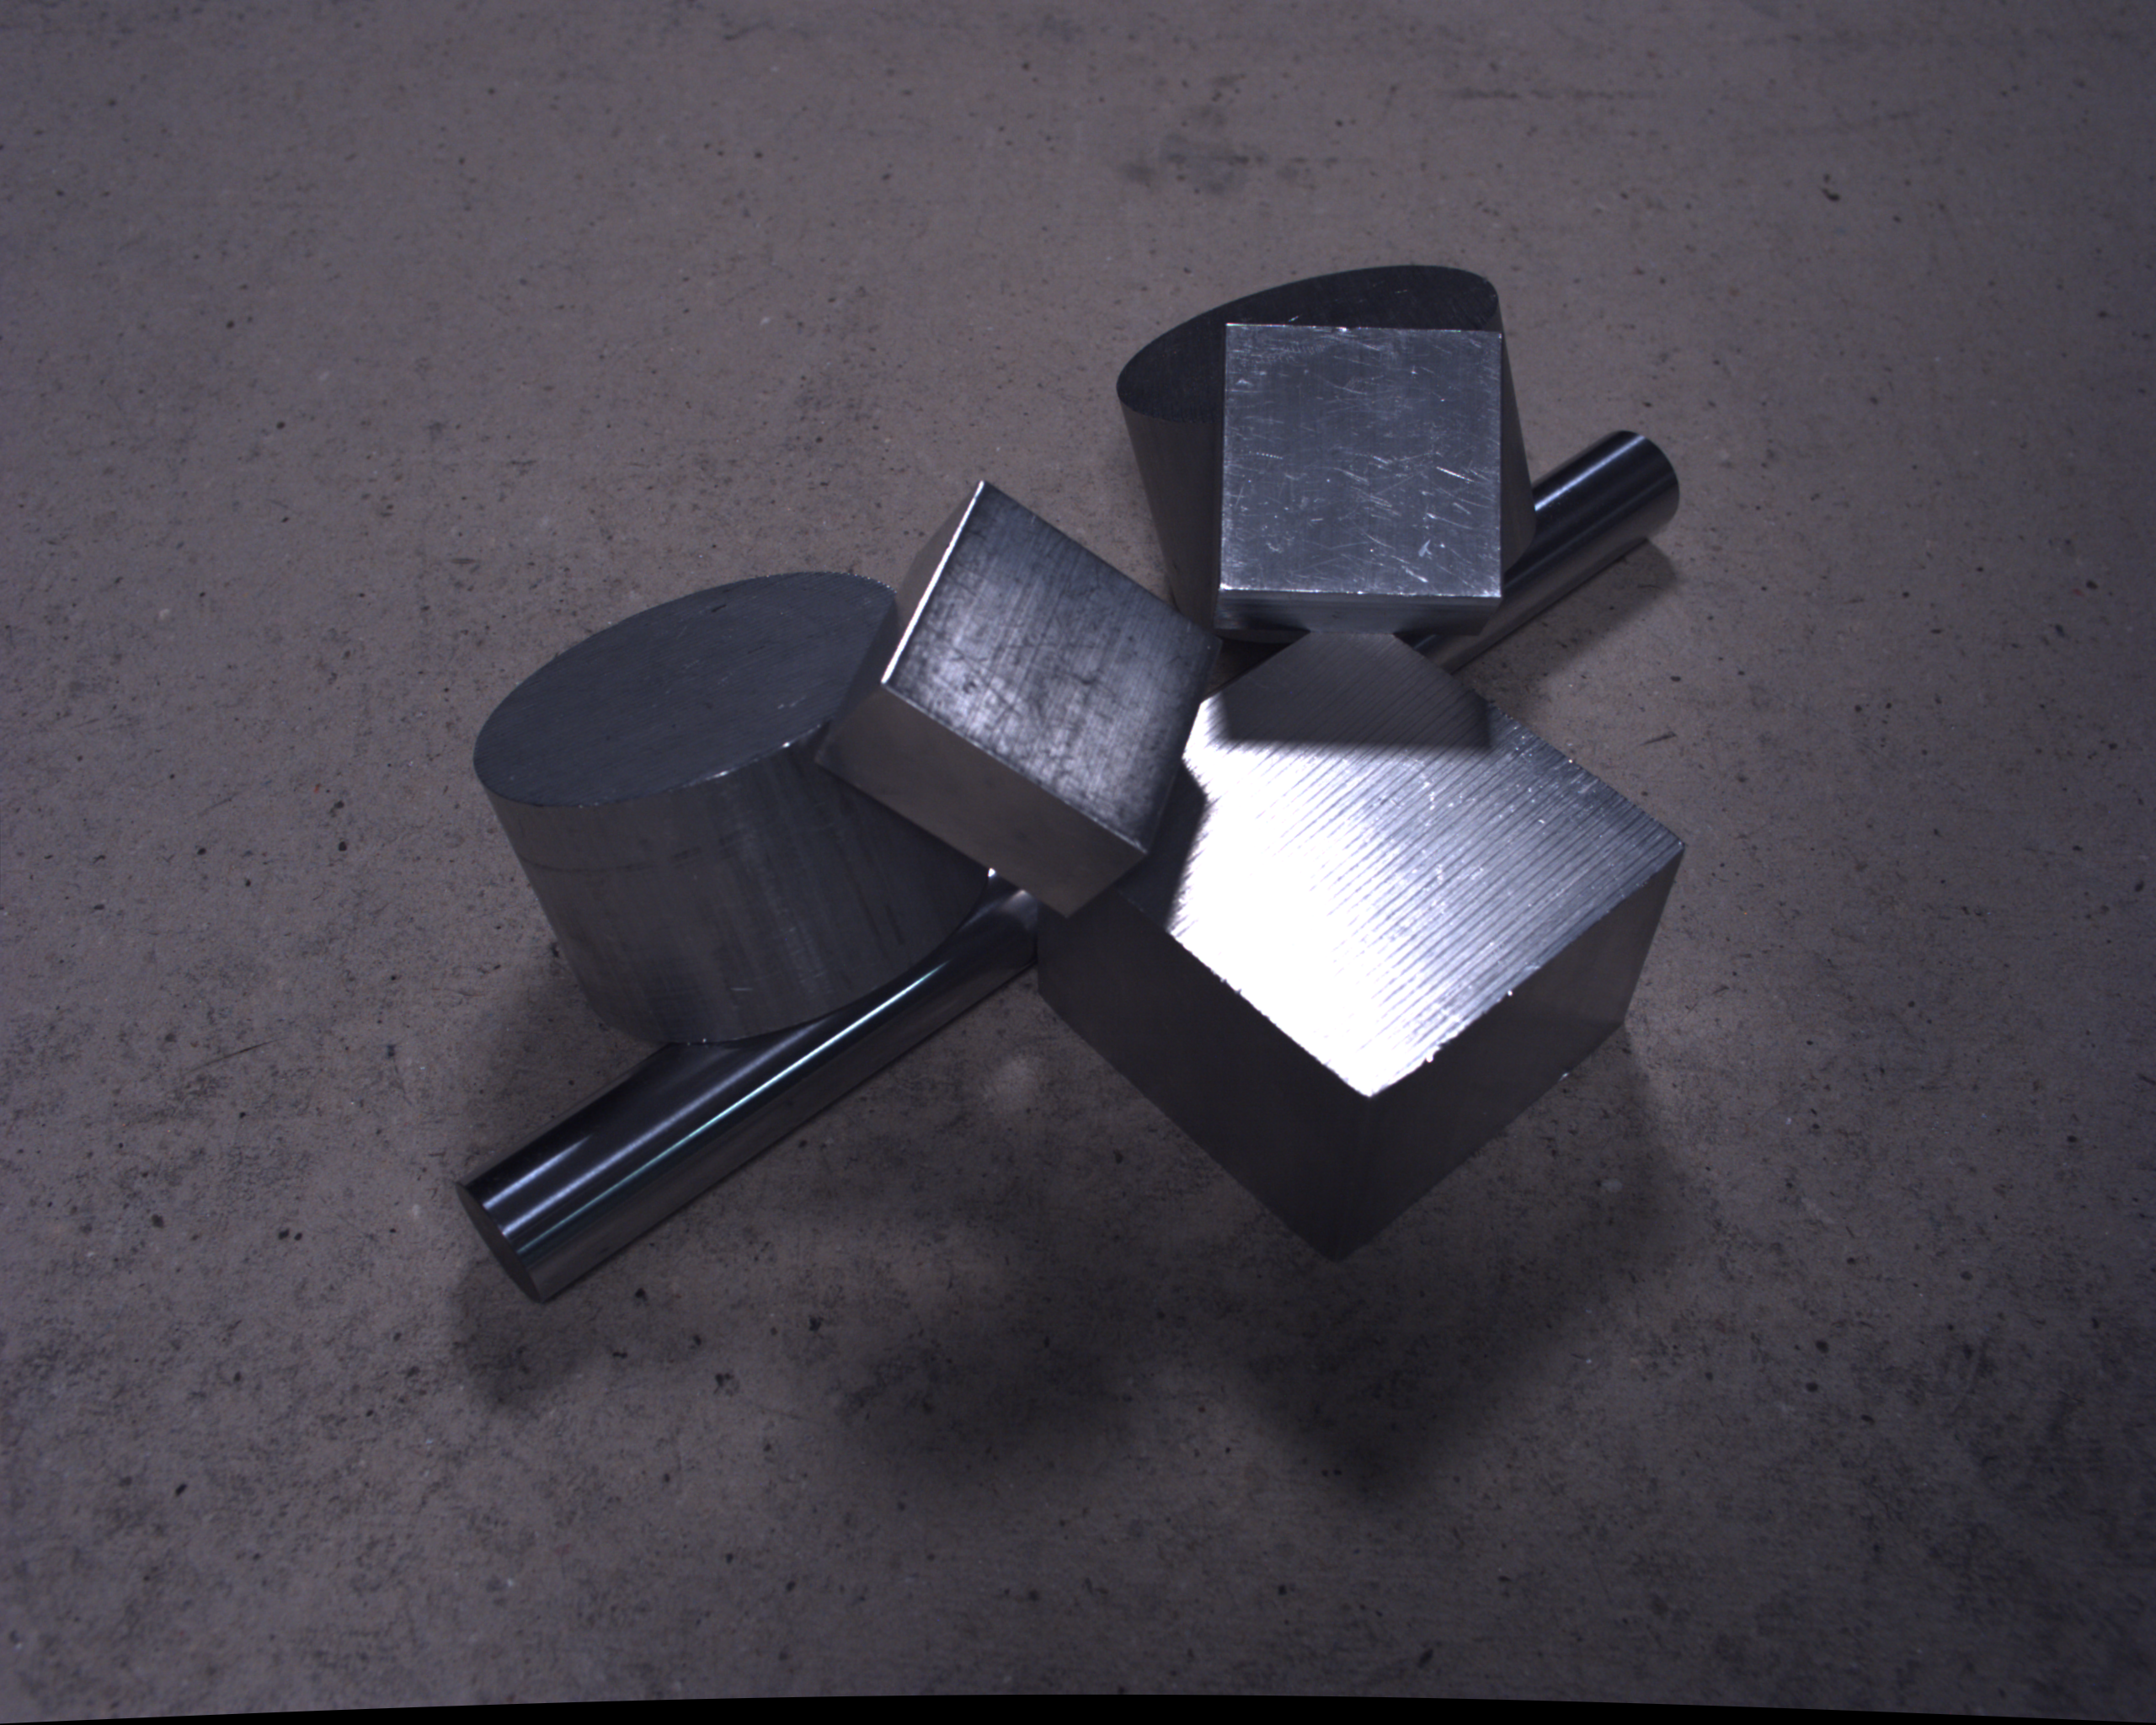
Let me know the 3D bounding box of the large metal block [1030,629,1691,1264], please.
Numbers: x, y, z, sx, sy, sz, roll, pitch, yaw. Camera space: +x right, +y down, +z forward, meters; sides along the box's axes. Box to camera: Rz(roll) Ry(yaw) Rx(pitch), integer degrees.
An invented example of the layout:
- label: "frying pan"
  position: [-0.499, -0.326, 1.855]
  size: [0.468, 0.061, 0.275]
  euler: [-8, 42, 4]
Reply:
- label: "large metal block"
  position: [0.048, 0.010, 0.378]
  size: [0.080, 0.050, 0.080]
  euler: [-34, 58, -26]

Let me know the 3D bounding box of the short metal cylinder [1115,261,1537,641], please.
- label: "short metal cylinder"
  position: [0.053, -0.089, 0.445]
  size: [0.080, 0.050, 0.080]
  euler: [-13, 31, 8]

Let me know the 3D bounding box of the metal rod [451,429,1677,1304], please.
- label: "metal rod"
  position: [0.015, -0.012, 0.415]
  size: [0.302, 0.025, 0.025]
  euler: [-34, 58, -26]

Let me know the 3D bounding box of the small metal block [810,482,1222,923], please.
- label: "small metal block"
  position: [-0.009, -0.027, 0.346]
  size: [0.050, 0.025, 0.050]
  euler: [33, 50, -15]

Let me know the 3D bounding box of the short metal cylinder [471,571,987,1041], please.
- label: "short metal cylinder"
  position: [-0.061, -0.012, 0.380]
  size: [0.080, 0.050, 0.080]
  euler: [-13, 31, 8]

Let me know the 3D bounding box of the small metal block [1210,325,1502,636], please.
- label: "small metal block"
  position: [0.050, -0.069, 0.382]
  size: [0.050, 0.025, 0.050]
  euler: [2, 81, 1]
